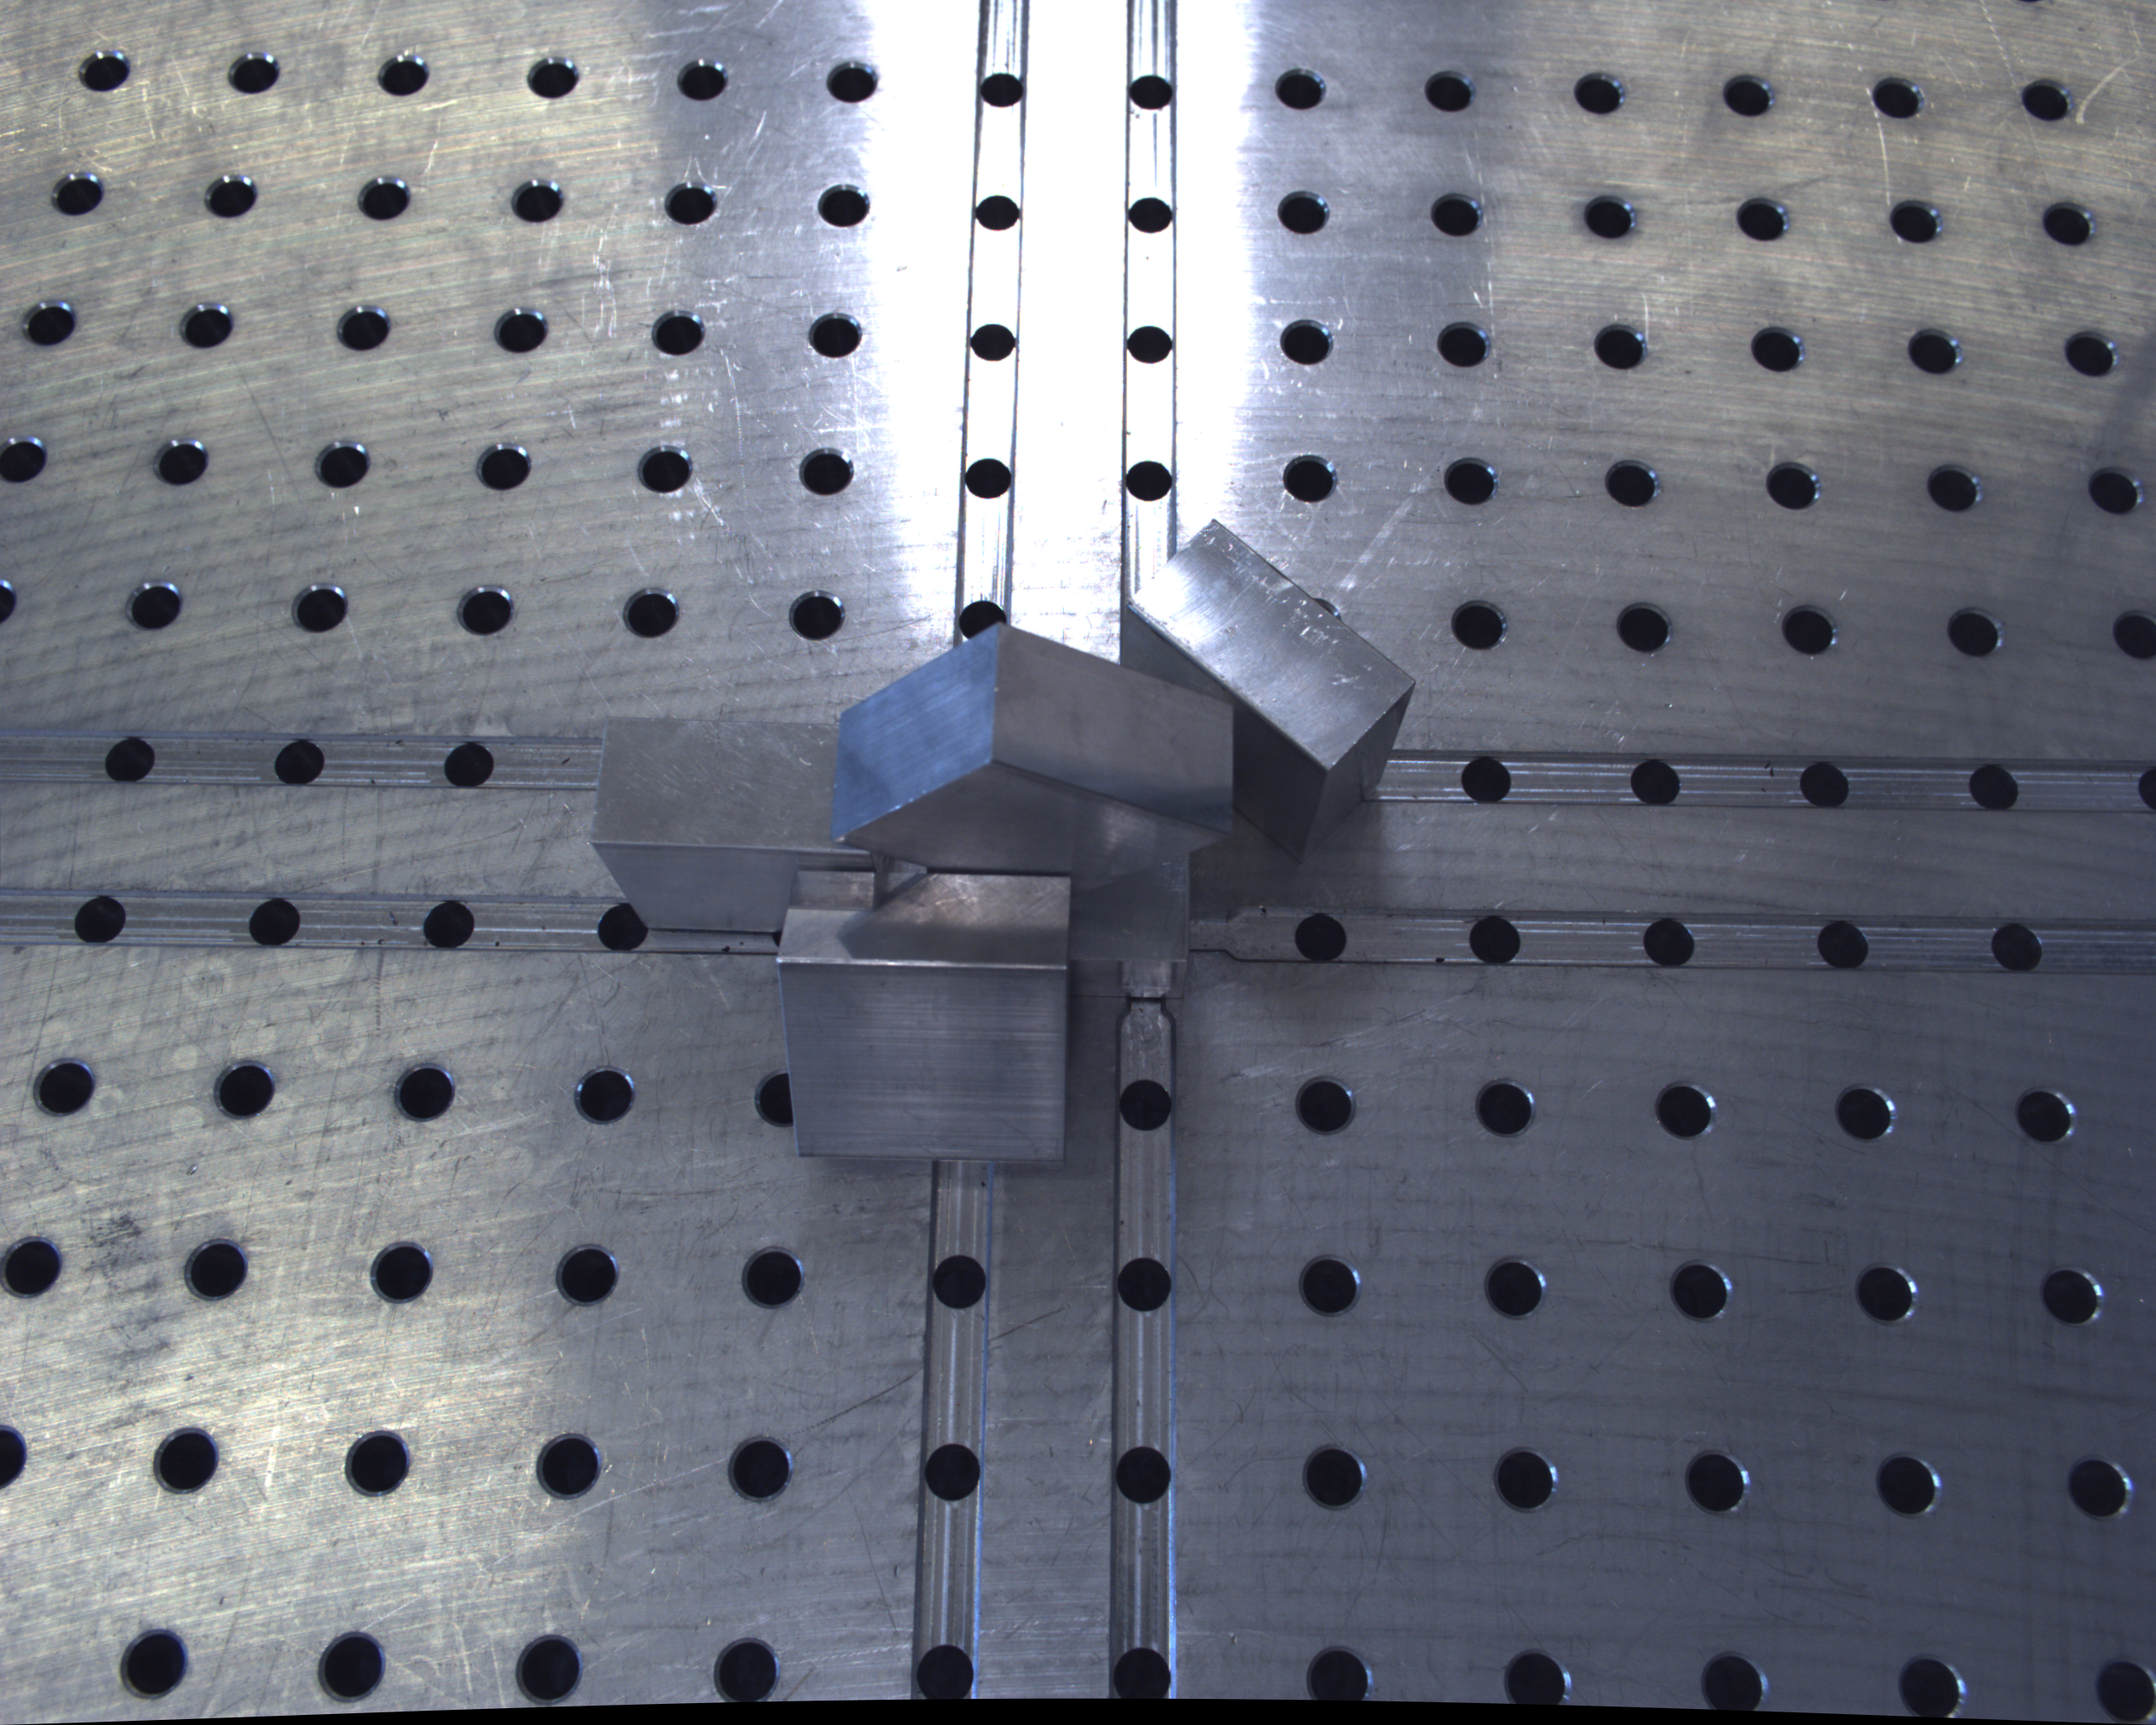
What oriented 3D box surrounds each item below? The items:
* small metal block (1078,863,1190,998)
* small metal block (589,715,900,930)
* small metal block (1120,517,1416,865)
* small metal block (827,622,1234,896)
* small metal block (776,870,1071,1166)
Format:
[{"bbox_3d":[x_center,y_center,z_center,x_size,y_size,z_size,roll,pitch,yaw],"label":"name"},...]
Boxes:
[{"bbox_3d":[-0.004,-0.001,0.412,0.050,0.025,0.050,2,70,0],"label":"small metal block"},{"bbox_3d":[-0.062,-0.006,0.400,0.050,0.050,0.025,1,71,1],"label":"small metal block"},{"bbox_3d":[0.035,-0.032,0.411,0.050,0.050,0.025,41,75,13],"label":"small metal block"},{"bbox_3d":[-0.008,-0.015,0.367,0.050,0.050,0.025,16,66,-34],"label":"small metal block"},{"bbox_3d":[-0.027,0.029,0.385,0.050,0.050,0.025,1,38,0],"label":"small metal block"}]
